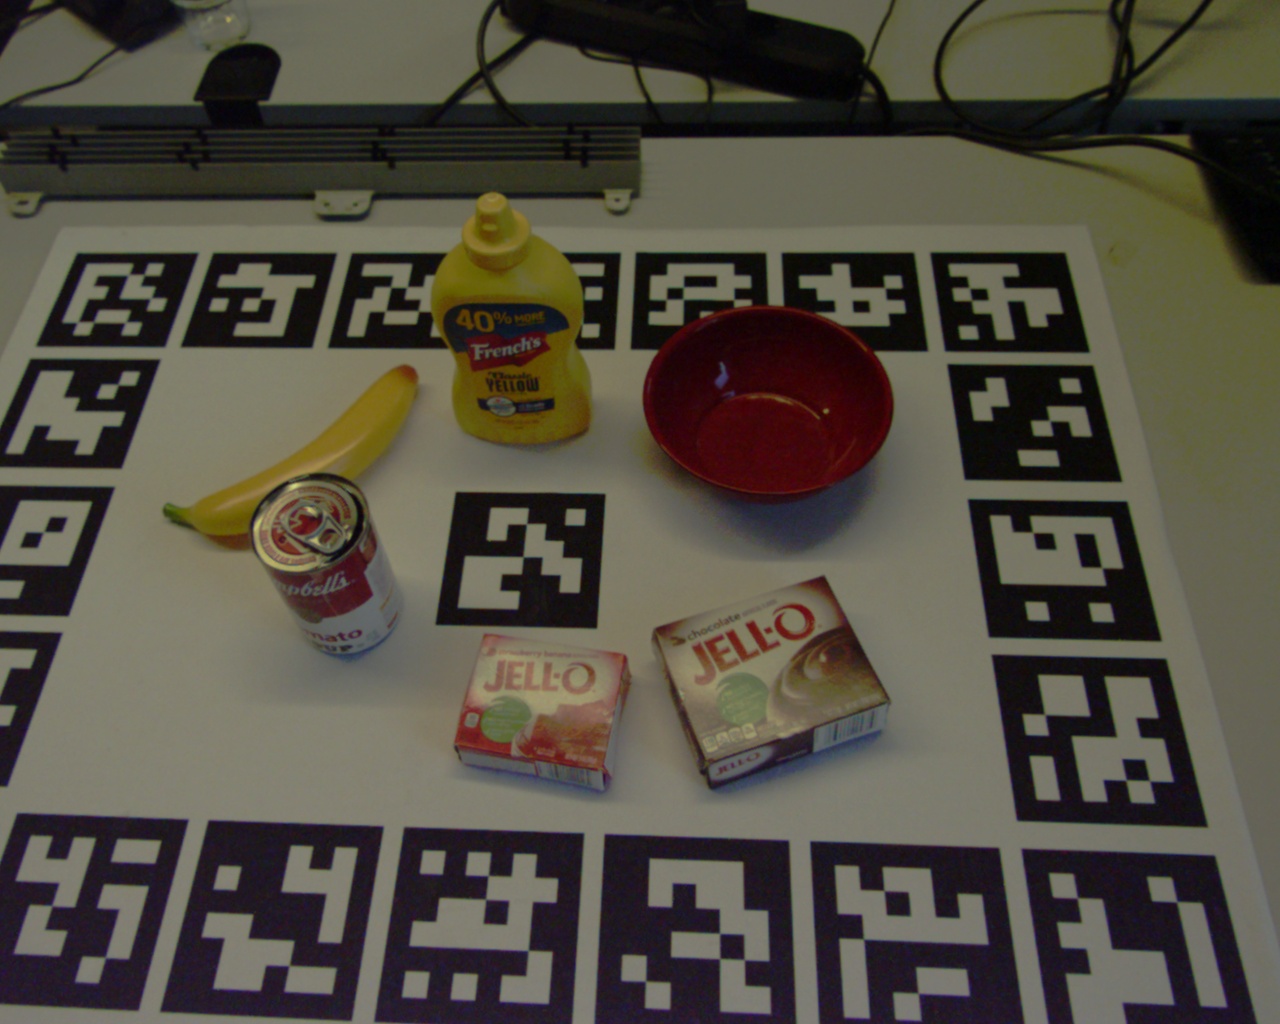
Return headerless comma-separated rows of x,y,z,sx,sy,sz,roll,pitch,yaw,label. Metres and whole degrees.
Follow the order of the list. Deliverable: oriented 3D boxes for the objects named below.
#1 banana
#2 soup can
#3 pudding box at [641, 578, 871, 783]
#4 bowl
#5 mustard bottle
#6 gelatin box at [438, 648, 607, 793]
-0.236,-0.041,0.808,0.196,0.038,0.075,-40,53,-22,banana
-0.200,0.030,0.708,0.068,0.101,0.068,0,54,0,soup can
0.067,0.102,0.692,0.113,0.038,0.091,-19,62,-10,pudding box
0.082,-0.057,0.794,0.162,0.055,0.162,-3,55,3,bowl
-0.089,-0.121,0.748,0.096,0.190,0.058,2,53,3,mustard bottle
-0.070,0.125,0.689,0.090,0.030,0.073,6,59,8,gelatin box
